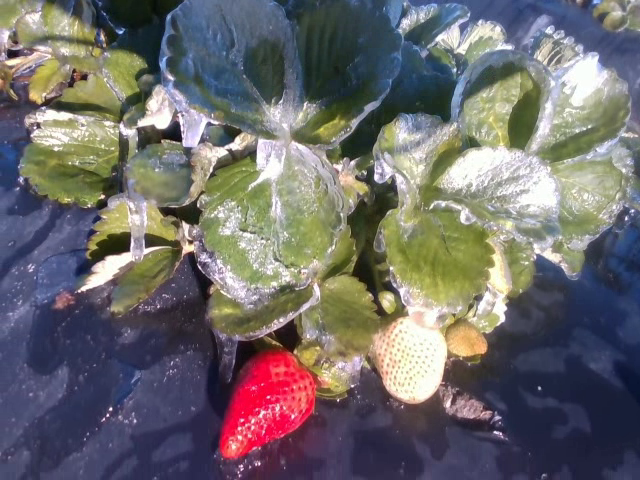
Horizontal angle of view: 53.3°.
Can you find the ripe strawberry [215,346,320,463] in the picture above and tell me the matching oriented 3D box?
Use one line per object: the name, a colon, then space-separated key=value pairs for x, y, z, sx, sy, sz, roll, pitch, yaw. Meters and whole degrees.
ripe strawberry: x=-0.027 y=0.069 z=0.269 sx=0.041 sy=0.052 sz=0.040 roll=28 pitch=-31 yaw=24
